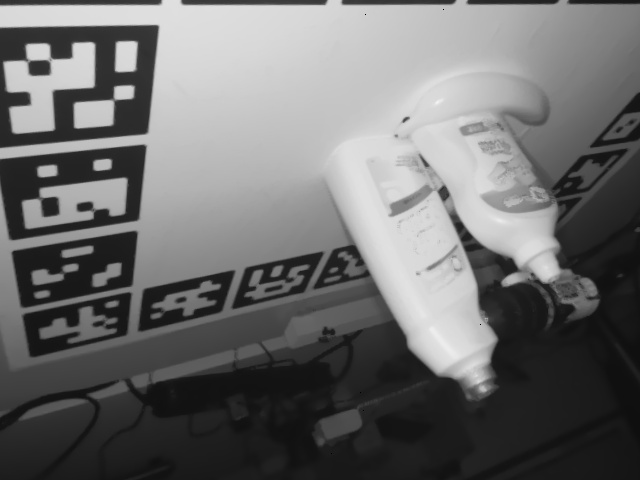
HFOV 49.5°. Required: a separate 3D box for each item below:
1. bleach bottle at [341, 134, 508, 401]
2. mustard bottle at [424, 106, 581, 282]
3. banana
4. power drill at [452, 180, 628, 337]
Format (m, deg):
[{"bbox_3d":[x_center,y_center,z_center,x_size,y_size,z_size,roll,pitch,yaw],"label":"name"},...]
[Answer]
[{"bbox_3d":[0.107,0.020,0.627,0.104,0.251,0.067,-7,150,-28],"label":"bleach bottle"},{"bbox_3d":[0.176,-0.044,0.628,0.097,0.191,0.057,-8,145,-25],"label":"mustard bottle"},{"bbox_3d":[0.171,-0.131,0.659,0.200,0.039,0.073,-8,144,-31],"label":"banana"},{"bbox_3d":[0.202,0.009,0.688,0.187,0.187,0.056,1,142,-34],"label":"power drill"}]
